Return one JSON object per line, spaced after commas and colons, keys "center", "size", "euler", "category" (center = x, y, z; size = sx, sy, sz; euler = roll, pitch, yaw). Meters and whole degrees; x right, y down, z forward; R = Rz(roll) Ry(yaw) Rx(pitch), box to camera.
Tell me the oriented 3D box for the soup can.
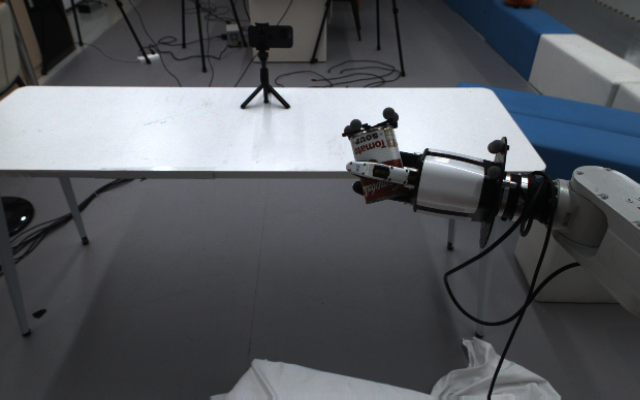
{"center": [0.089, -0.051, 0.715], "size": [0.067, 0.101, 0.067], "euler": [-14, -2, -1], "category": "soup can"}
